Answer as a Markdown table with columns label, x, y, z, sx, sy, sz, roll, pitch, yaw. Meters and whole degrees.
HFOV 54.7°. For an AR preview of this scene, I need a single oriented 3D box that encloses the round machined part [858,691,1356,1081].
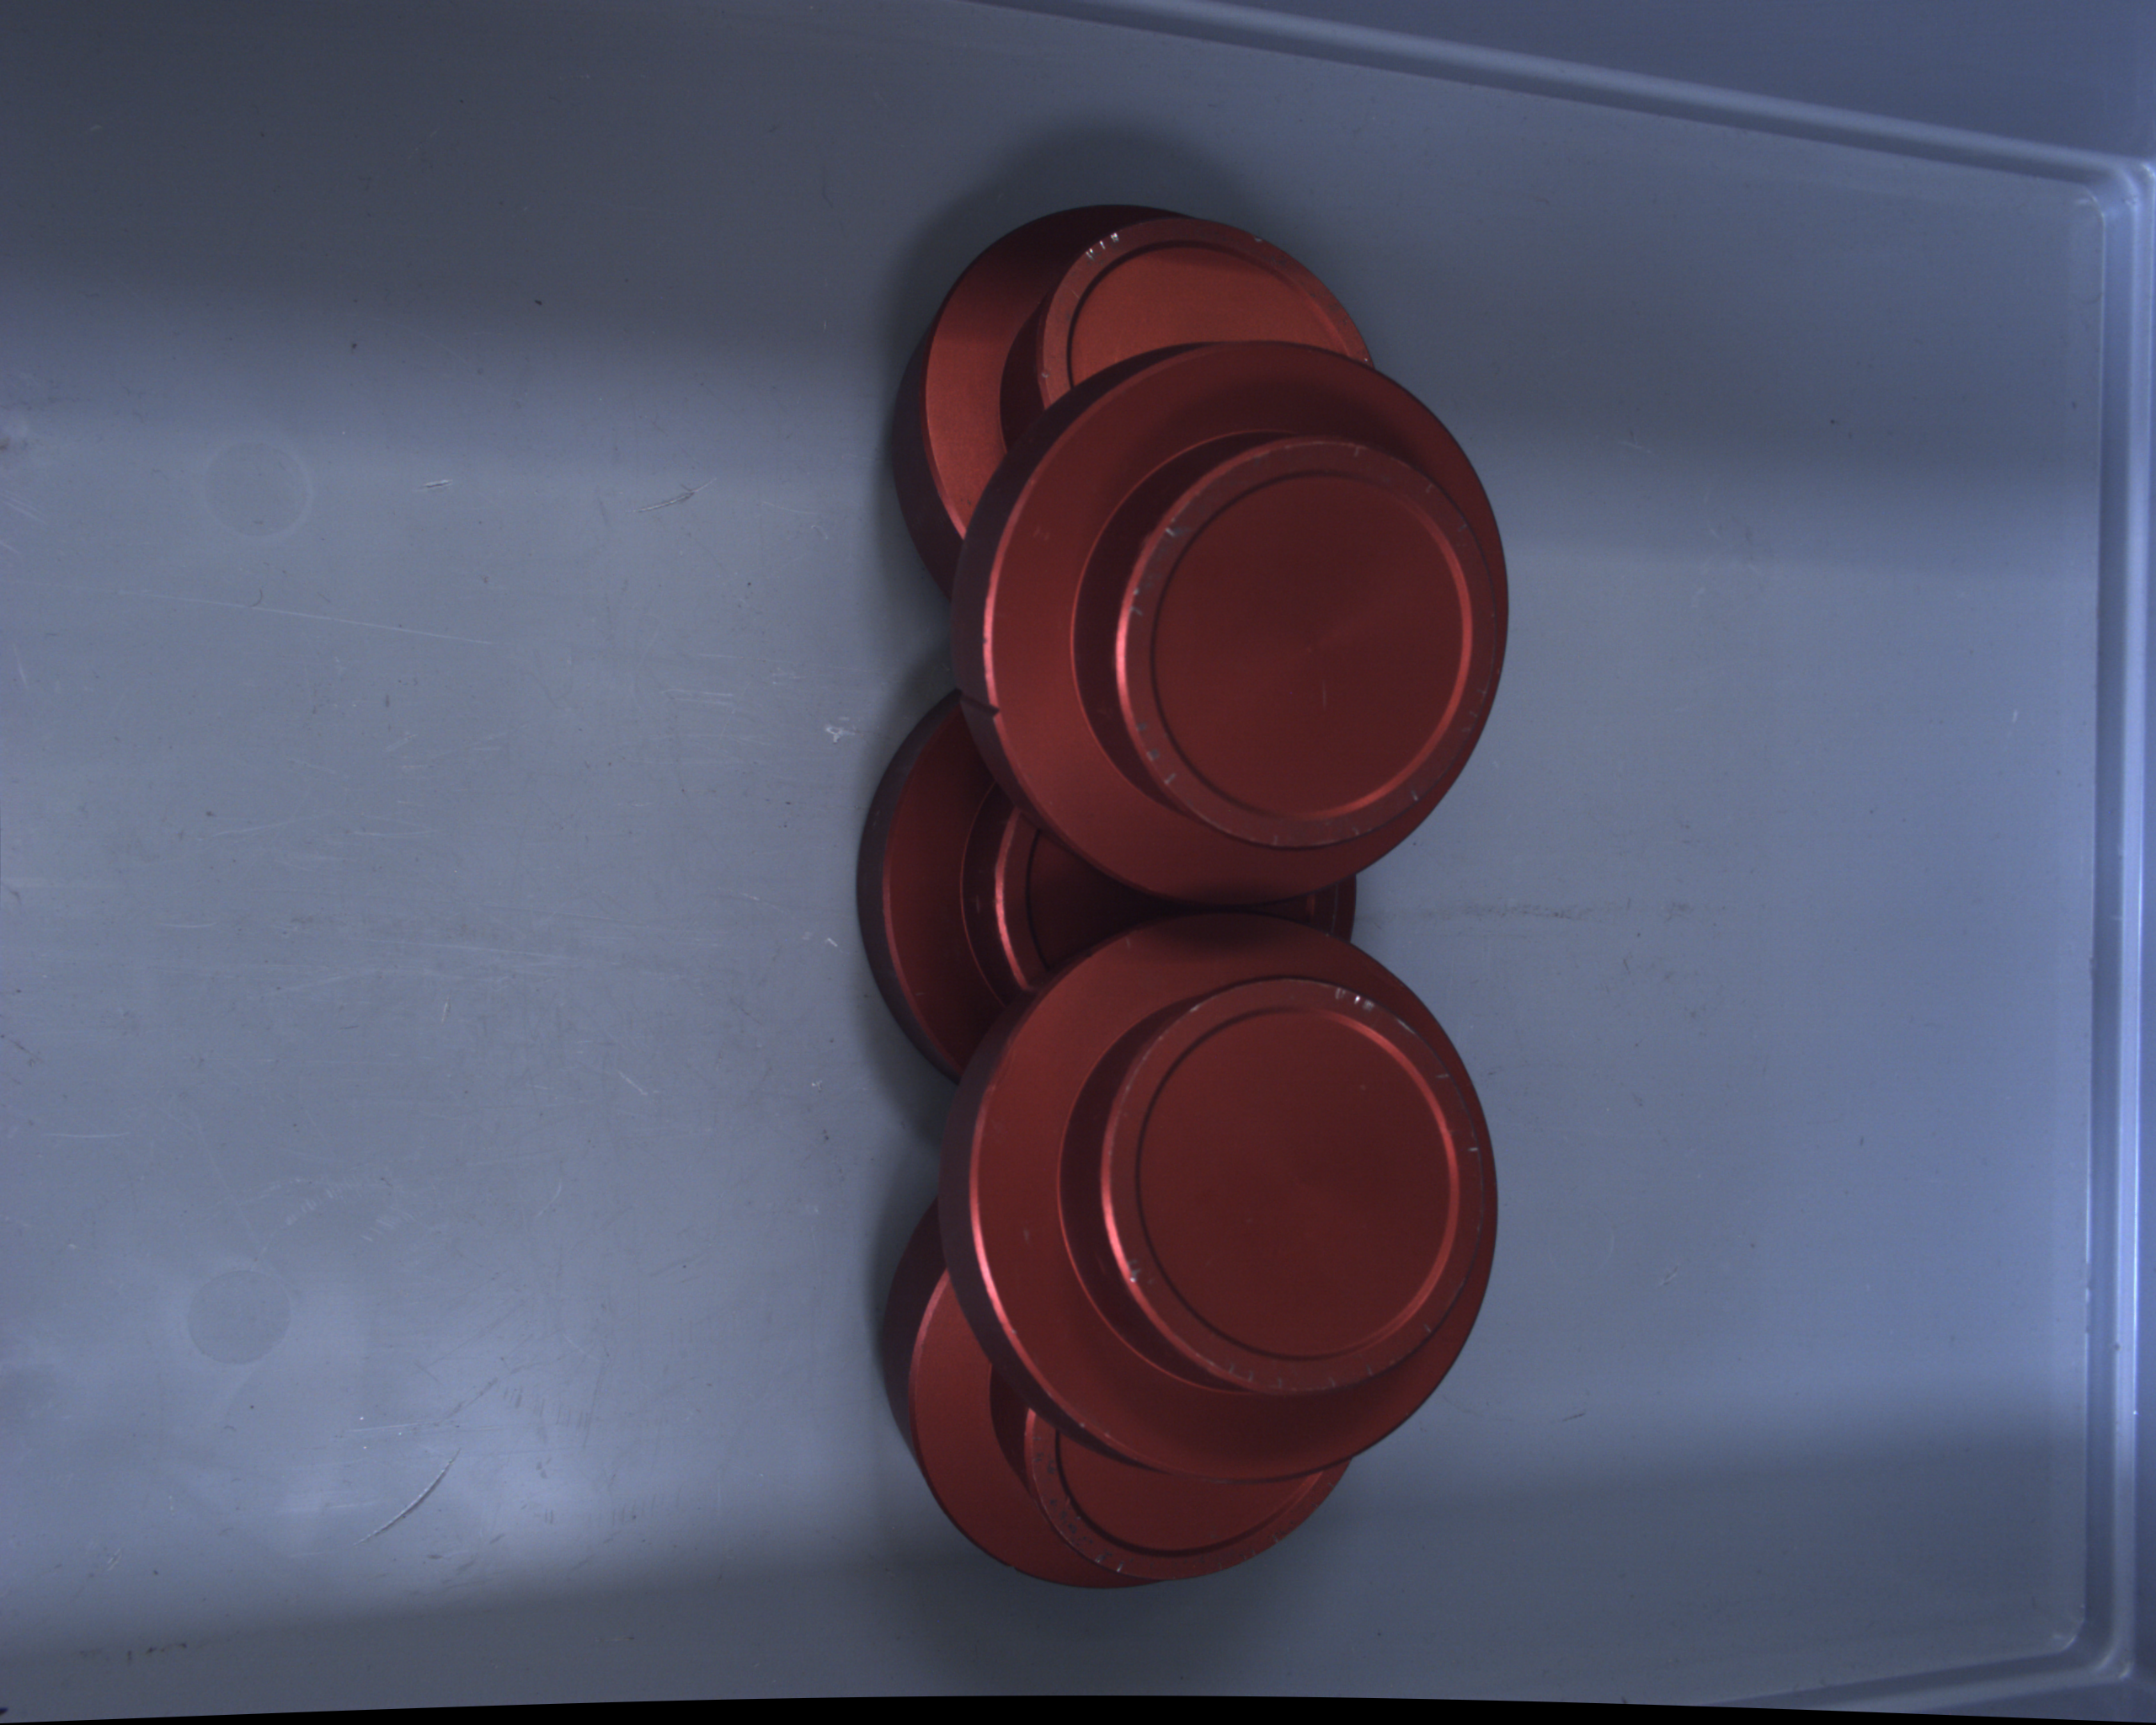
| label | x | y | z | sx | sy | sz | roll | pitch | yaw |
| --- | --- | --- | --- | --- | --- | --- | --- | --- | --- |
| round machined part | 0.010 | 0.004 | 0.404 | 0.099 | 0.042 | 0.097 | 0 | 89 | -20 |

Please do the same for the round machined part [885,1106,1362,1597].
| label | x | y | z | sx | sy | sz | roll | pitch | yaw |
| --- | --- | --- | --- | --- | --- | --- | --- | --- | --- |
| round machined part | 0.017 | 0.095 | 0.392 | 0.099 | 0.042 | 0.097 | -6 | 107 | -18 |

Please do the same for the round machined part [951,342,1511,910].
| label | x | y | z | sx | sy | sz | roll | pitch | yaw |
| --- | --- | --- | --- | --- | --- | --- | --- | --- | --- |
| round machined part | 0.031 | -0.039 | 0.357 | 0.099 | 0.042 | 0.097 | -5 | 104 | -19 |

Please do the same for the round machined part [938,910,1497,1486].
| label | x | y | z | sx | sy | sz | roll | pitch | yaw |
| --- | --- | --- | --- | --- | --- | --- | --- | --- | --- |
| round machined part | 0.029 | 0.056 | 0.356 | 0.099 | 0.042 | 0.098 | 4 | 77 | -19 |

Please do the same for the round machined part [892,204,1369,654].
| label | x | y | z | sx | sy | sz | roll | pitch | yaw |
| --- | --- | --- | --- | --- | --- | --- | --- | --- | --- |
| round machined part | 0.017 | -0.082 | 0.394 | 0.099 | 0.042 | 0.098 | 6 | 72 | -19 |
